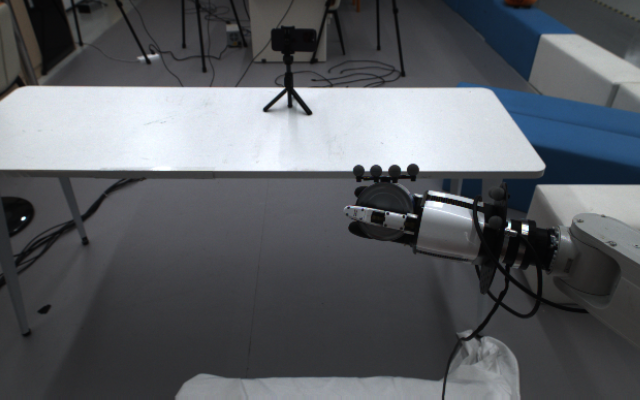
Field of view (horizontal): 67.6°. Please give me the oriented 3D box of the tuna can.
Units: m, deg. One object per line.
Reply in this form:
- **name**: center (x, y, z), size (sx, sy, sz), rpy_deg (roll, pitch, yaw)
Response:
- **tuna can**: center (0.097, 0.014, 0.709), size (0.085, 0.085, 0.034), rpy_deg (15, 10, 18)
